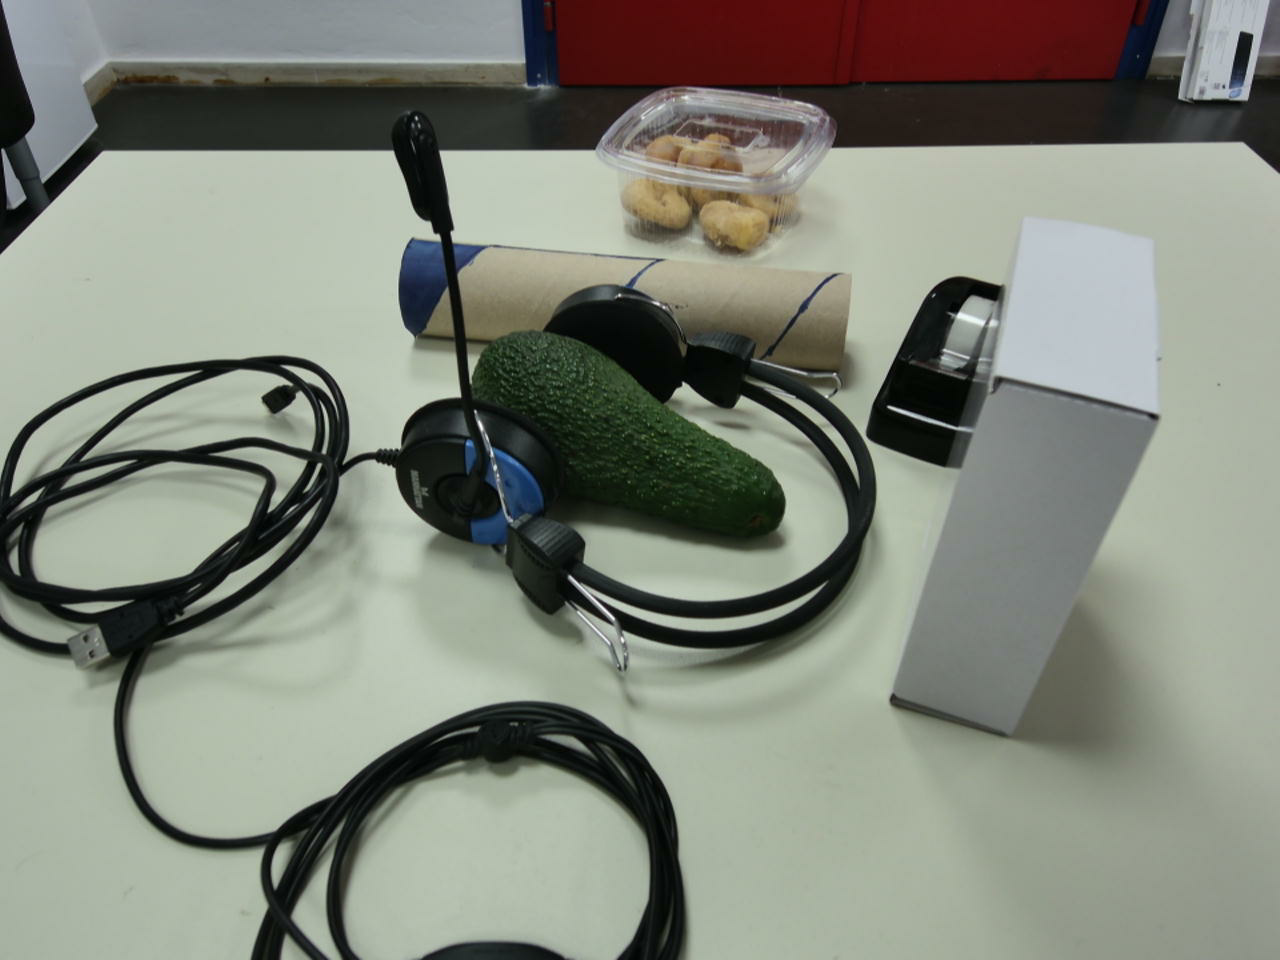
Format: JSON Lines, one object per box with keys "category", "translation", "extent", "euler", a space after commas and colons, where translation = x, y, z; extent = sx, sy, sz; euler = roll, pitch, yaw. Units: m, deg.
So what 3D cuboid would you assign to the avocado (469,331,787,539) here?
{"category": "avocado", "translation": [-0.006, -0.024, 0.415], "extent": [0.141, 0.067, 0.063], "euler": [9, 40, 12]}
